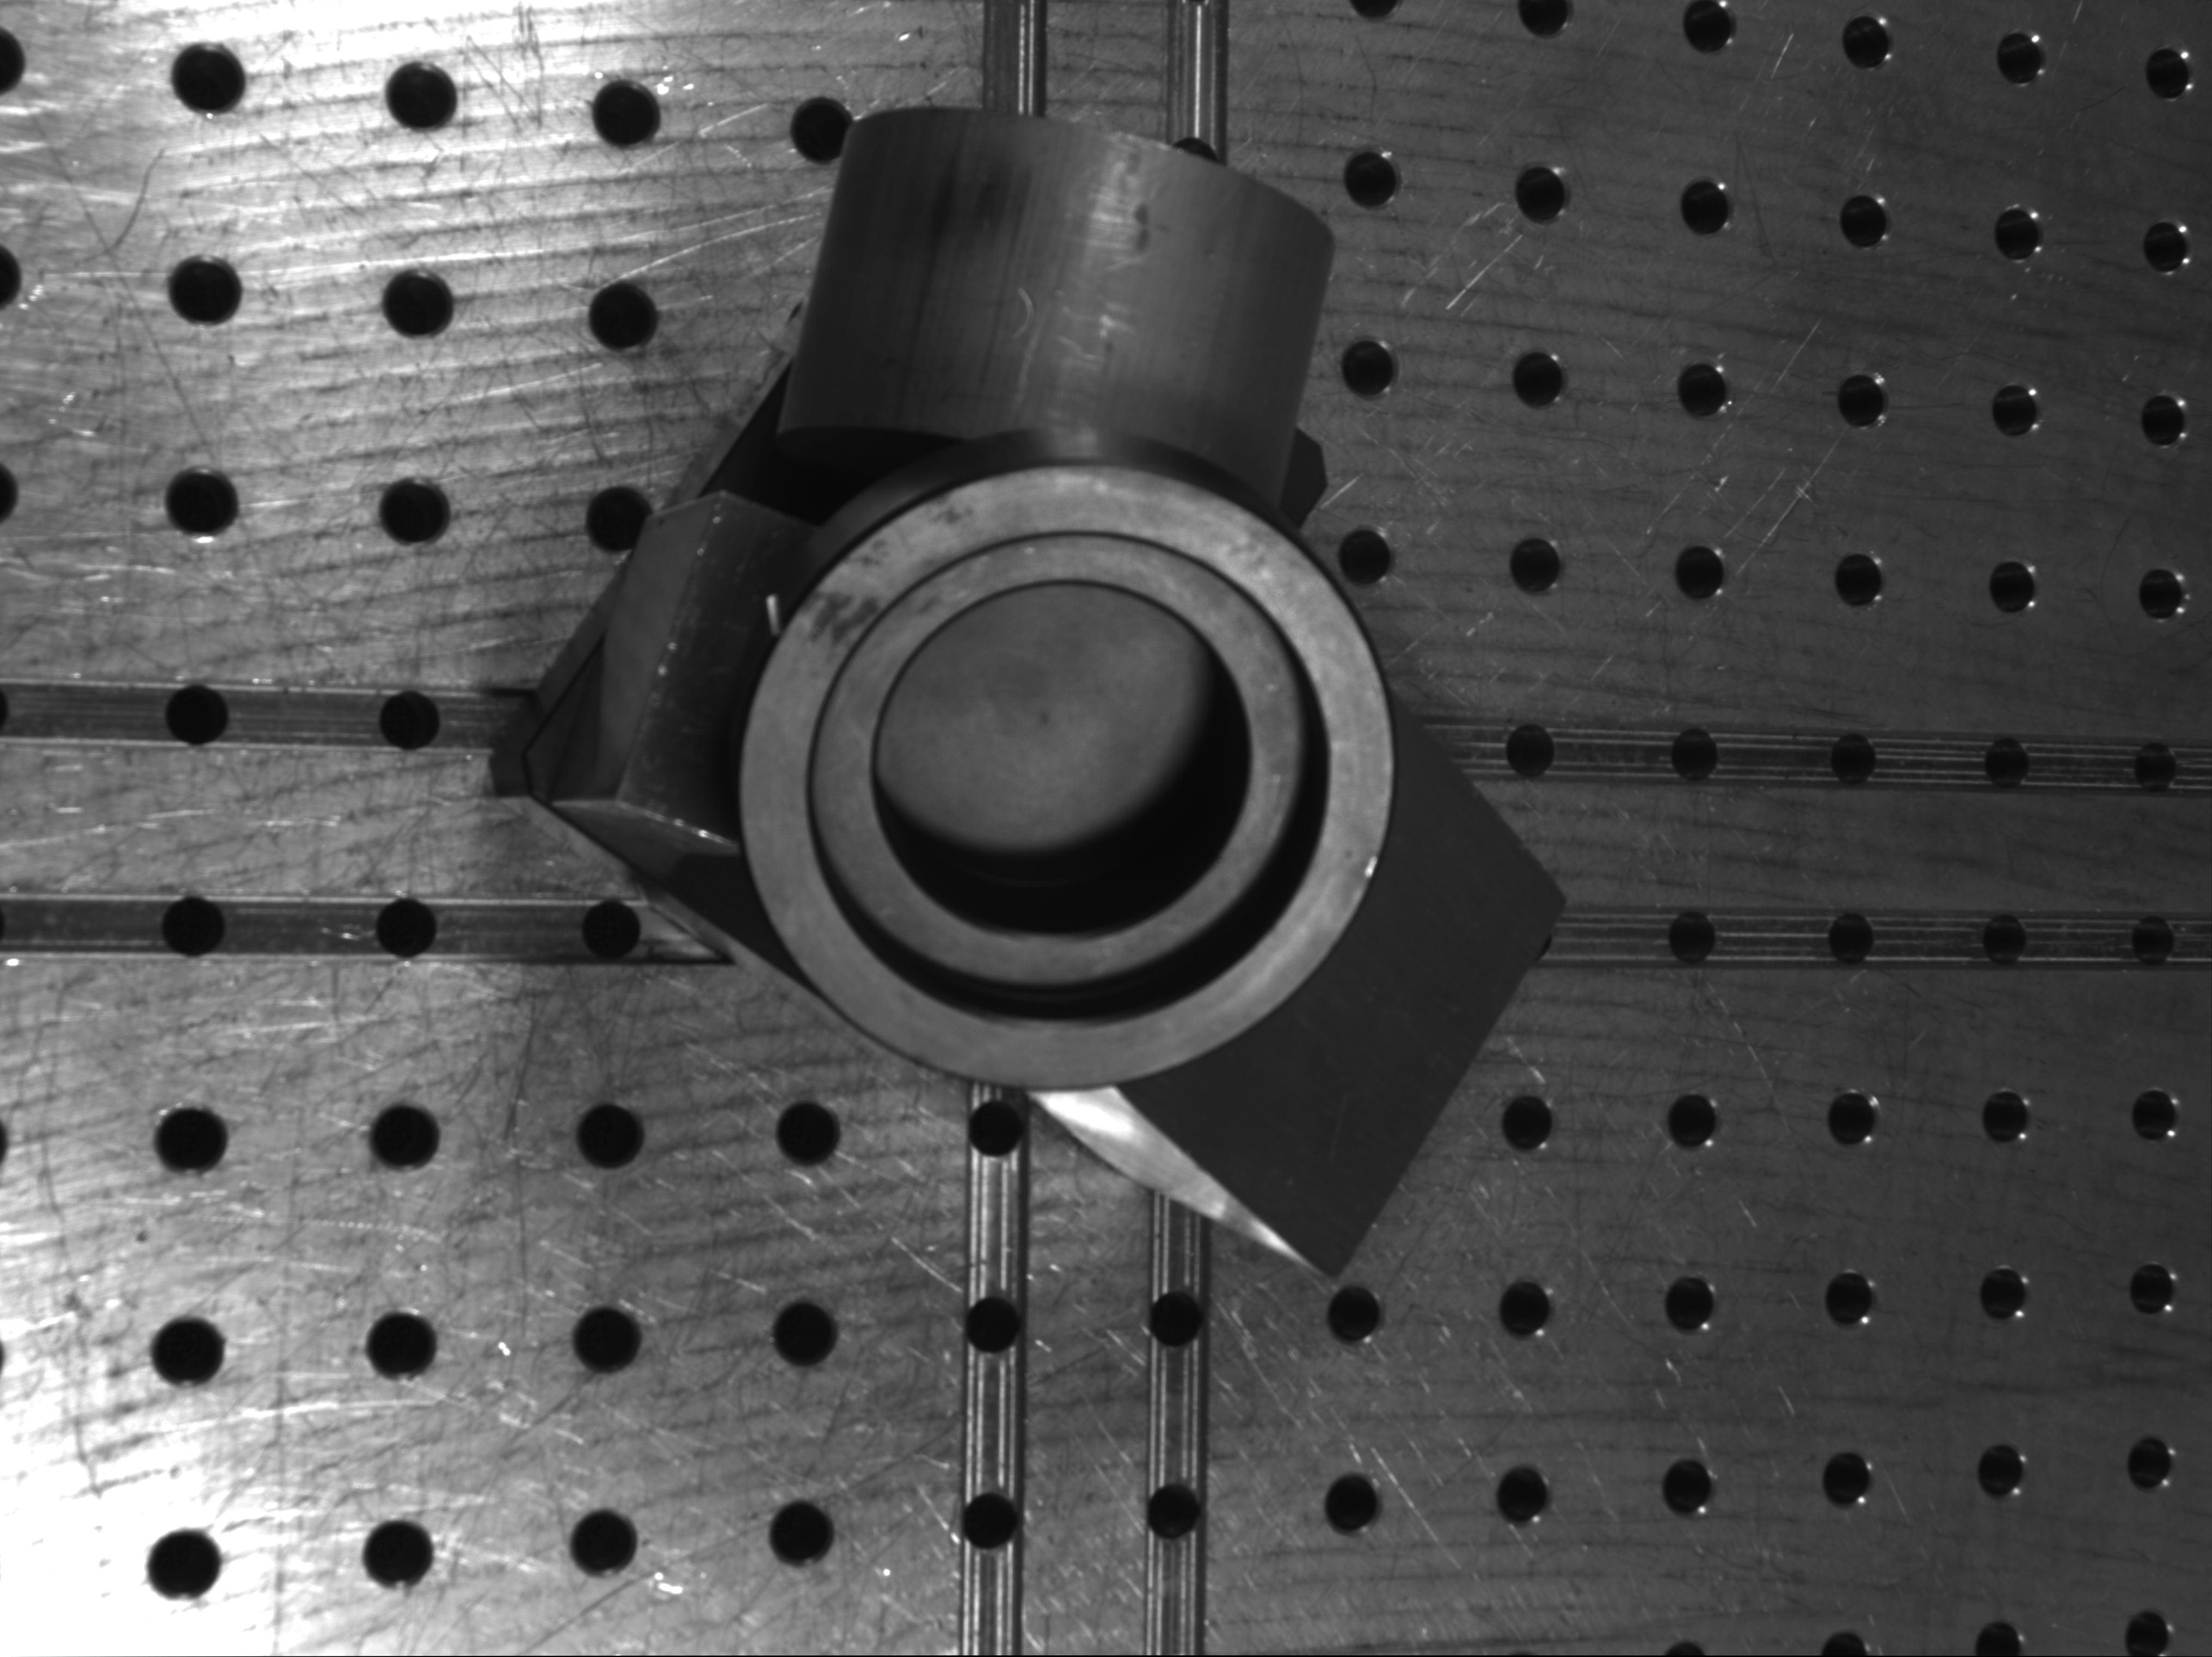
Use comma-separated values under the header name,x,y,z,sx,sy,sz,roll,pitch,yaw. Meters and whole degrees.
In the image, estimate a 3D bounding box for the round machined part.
name,x,y,z,sx,sy,sz,roll,pitch,yaw
round machined part,-0.007,-0.013,0.555,0.098,0.042,0.098,-3,110,-7

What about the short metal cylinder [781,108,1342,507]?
name,x,y,z,sx,sy,sz,roll,pitch,yaw
short metal cylinder,-0.007,-0.077,0.582,0.080,0.080,0.050,14,85,-19

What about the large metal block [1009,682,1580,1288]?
name,x,y,z,sx,sy,sz,roll,pitch,yaw
large metal block,0.025,0.019,0.622,0.080,0.050,0.080,-57,137,-11

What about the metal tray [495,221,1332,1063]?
name,x,y,z,sx,sy,sz,roll,pitch,yaw
metal tray,-0.032,-0.036,0.632,0.090,0.030,0.130,36,78,-16

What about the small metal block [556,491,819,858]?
name,x,y,z,sx,sy,sz,roll,pitch,yaw
small metal block,-0.062,-0.023,0.577,0.025,0.050,0.050,20,83,-19
